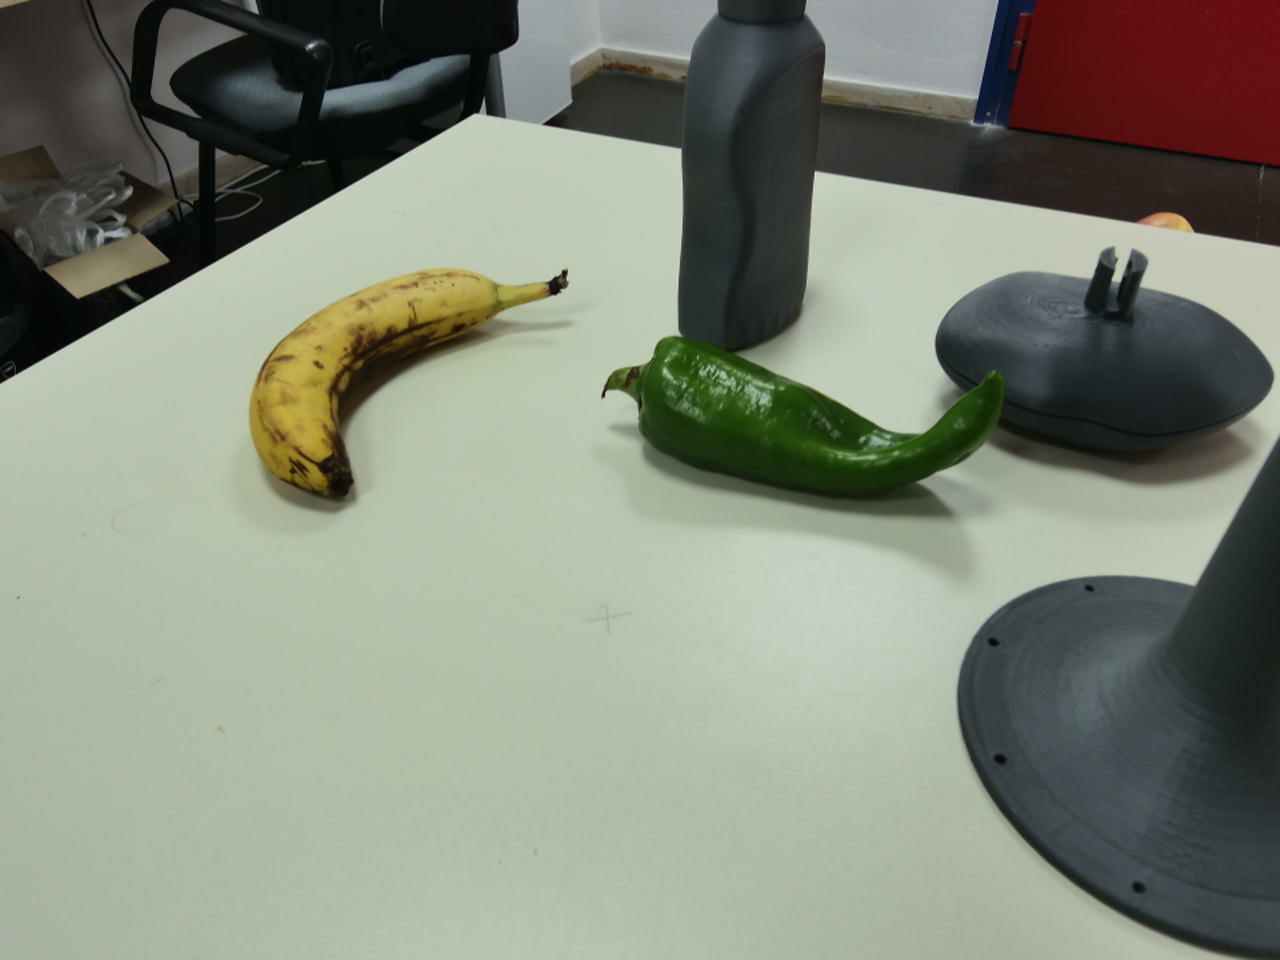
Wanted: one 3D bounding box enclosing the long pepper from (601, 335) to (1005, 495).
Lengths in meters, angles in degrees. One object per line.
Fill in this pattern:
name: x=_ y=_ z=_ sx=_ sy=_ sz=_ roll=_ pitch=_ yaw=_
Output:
long pepper: x=0.062 y=-0.032 z=0.436 sx=0.175 sy=0.065 sz=0.058 roll=16 pitch=40 yaw=20
